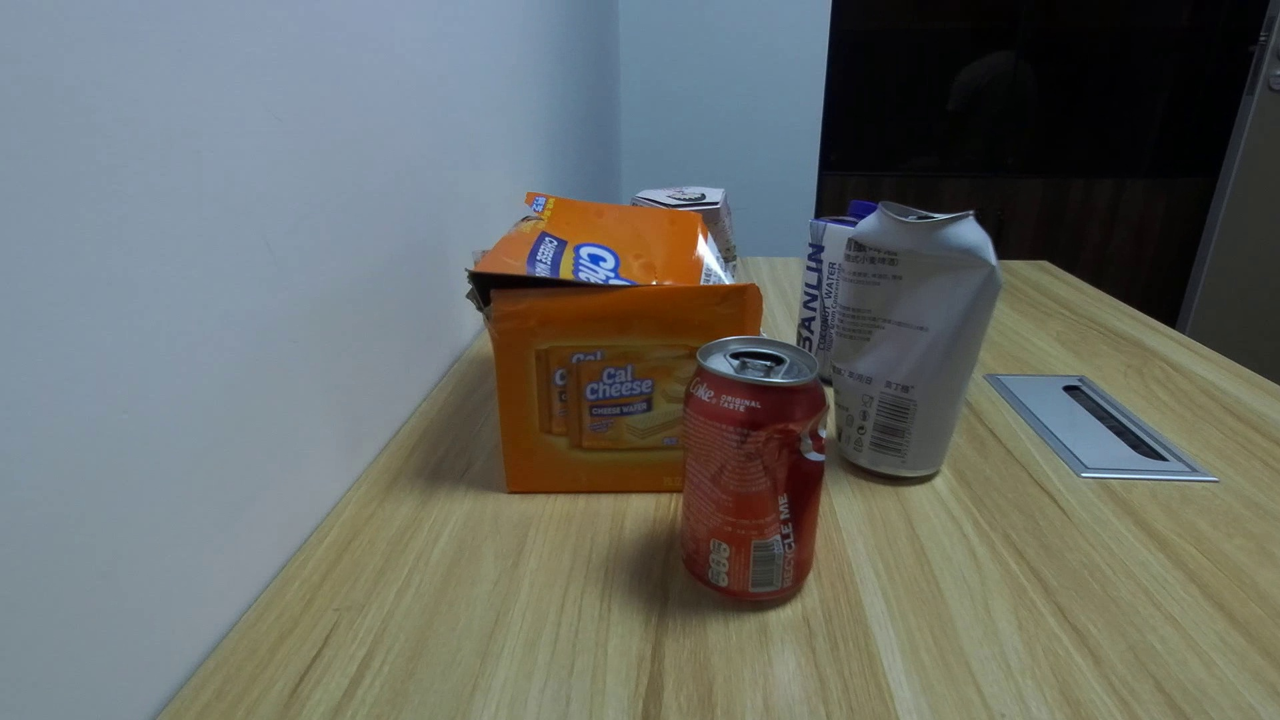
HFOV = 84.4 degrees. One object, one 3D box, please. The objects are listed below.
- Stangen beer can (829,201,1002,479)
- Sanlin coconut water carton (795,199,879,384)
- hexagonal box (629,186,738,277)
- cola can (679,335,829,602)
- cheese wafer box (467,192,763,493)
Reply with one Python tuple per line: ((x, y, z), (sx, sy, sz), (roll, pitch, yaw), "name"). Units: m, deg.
((0.160, -0.010, 0.426), (0.077, 0.162, 0.065), (-1, 23, -8), "Stangen beer can")
((0.164, -0.049, 0.549), (0.058, 0.142, 0.077), (-7, 24, -31), "Sanlin coconut water carton")
((0.040, -0.086, 0.653), (0.091, 0.134, 0.090), (9, 27, 19), "hexagonal box")
((0.053, 0.051, 0.334), (0.066, 0.117, 0.066), (-16, 26, -37), "cola can")
((-0.002, -0.028, 0.494), (0.191, 0.145, 0.218), (-1, 22, -1), "cheese wafer box")
